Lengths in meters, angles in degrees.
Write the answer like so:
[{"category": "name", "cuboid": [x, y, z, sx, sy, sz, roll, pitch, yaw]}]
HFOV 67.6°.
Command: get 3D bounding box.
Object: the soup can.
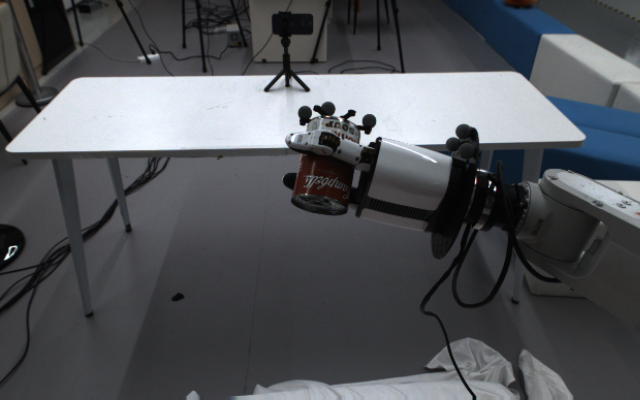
[{"category": "soup can", "cuboid": [0.010, -0.040, 0.572, 0.067, 0.067, 0.101, 8, 72, 9]}]
